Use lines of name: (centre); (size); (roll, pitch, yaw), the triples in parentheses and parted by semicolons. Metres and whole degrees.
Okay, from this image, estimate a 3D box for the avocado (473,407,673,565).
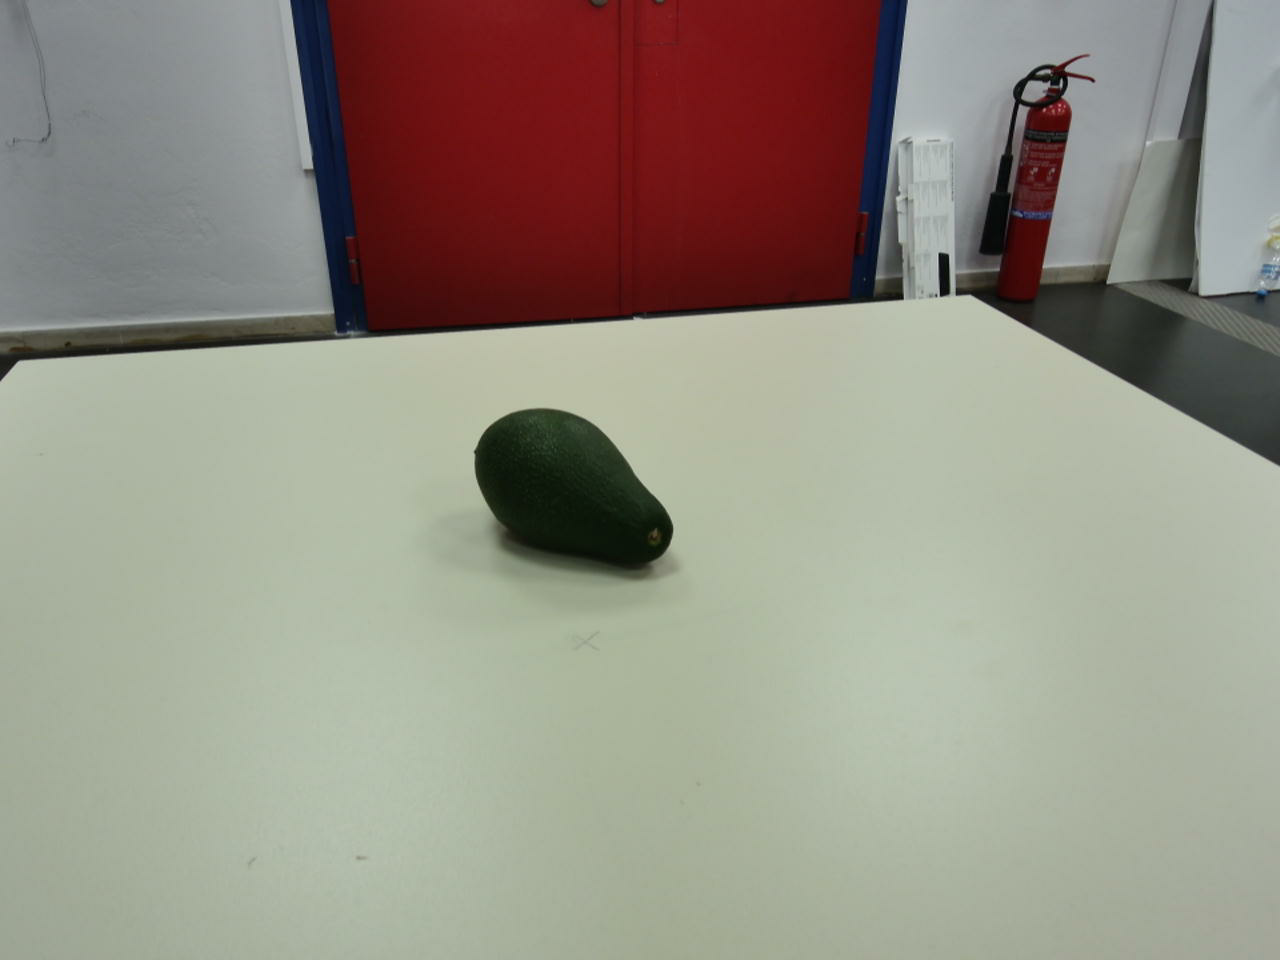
avocado: (-0.038, 0.003, 0.513); (0.072, 0.071, 0.109); (-18, 31, -32)
